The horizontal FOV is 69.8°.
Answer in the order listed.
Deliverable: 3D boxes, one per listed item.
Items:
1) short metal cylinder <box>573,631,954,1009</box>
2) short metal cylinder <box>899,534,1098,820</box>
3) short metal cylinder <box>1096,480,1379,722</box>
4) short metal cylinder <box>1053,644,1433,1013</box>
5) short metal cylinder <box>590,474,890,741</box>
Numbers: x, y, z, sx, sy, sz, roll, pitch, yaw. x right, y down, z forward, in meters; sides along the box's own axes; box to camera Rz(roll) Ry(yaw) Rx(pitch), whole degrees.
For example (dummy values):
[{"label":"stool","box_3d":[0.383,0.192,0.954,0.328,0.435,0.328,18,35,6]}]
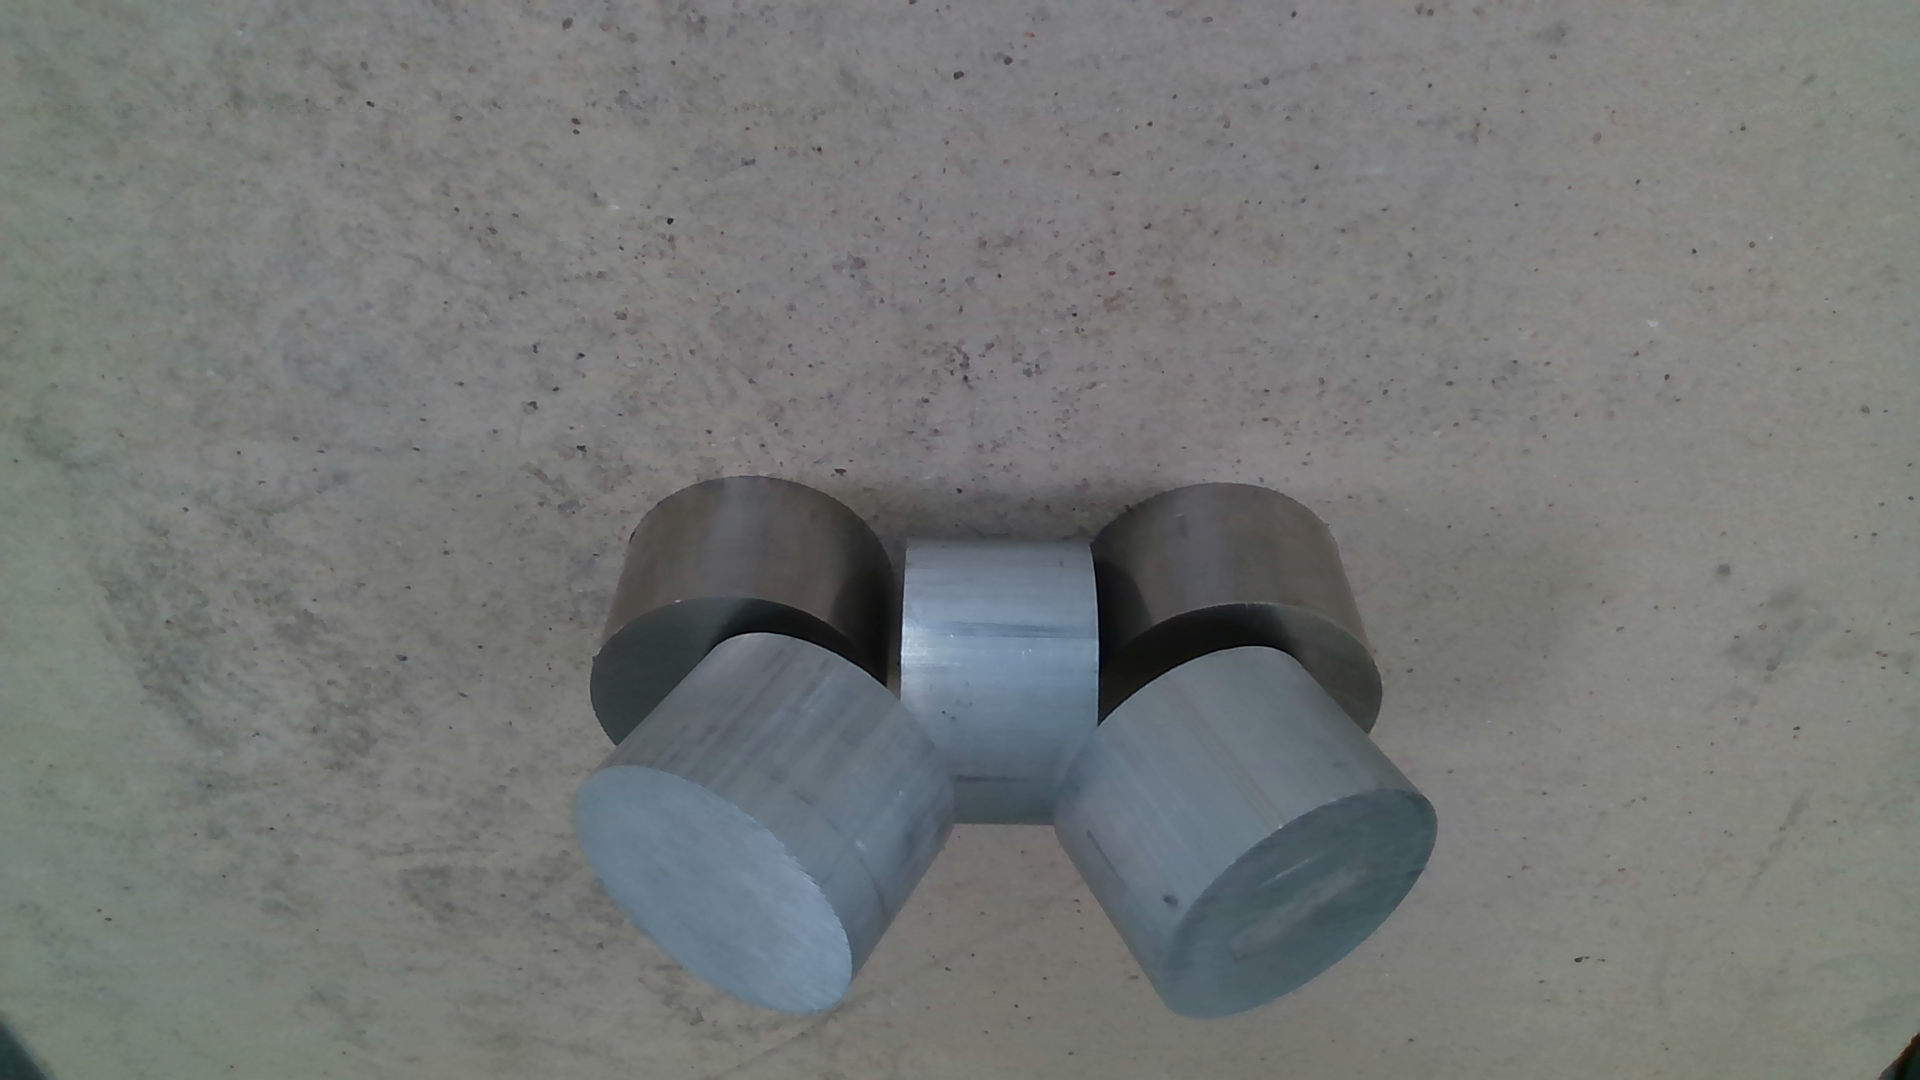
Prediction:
[{"label":"short metal cylinder","box_3d":[-0.049,0.070,0.346,0.080,0.050,0.080,18,132,21]},{"label":"short metal cylinder","box_3d":[0.009,0.039,0.387,0.050,0.080,0.080,1,130,-1]},{"label":"short metal cylinder","box_3d":[0.075,0.030,0.398,0.080,0.050,0.080,0,130,0]},{"label":"short metal cylinder","box_3d":[0.071,0.073,0.350,0.080,0.050,0.080,-17,134,-19]},{"label":"short metal cylinder","box_3d":[-0.061,0.028,0.397,0.080,0.050,0.080,0,130,0]}]
